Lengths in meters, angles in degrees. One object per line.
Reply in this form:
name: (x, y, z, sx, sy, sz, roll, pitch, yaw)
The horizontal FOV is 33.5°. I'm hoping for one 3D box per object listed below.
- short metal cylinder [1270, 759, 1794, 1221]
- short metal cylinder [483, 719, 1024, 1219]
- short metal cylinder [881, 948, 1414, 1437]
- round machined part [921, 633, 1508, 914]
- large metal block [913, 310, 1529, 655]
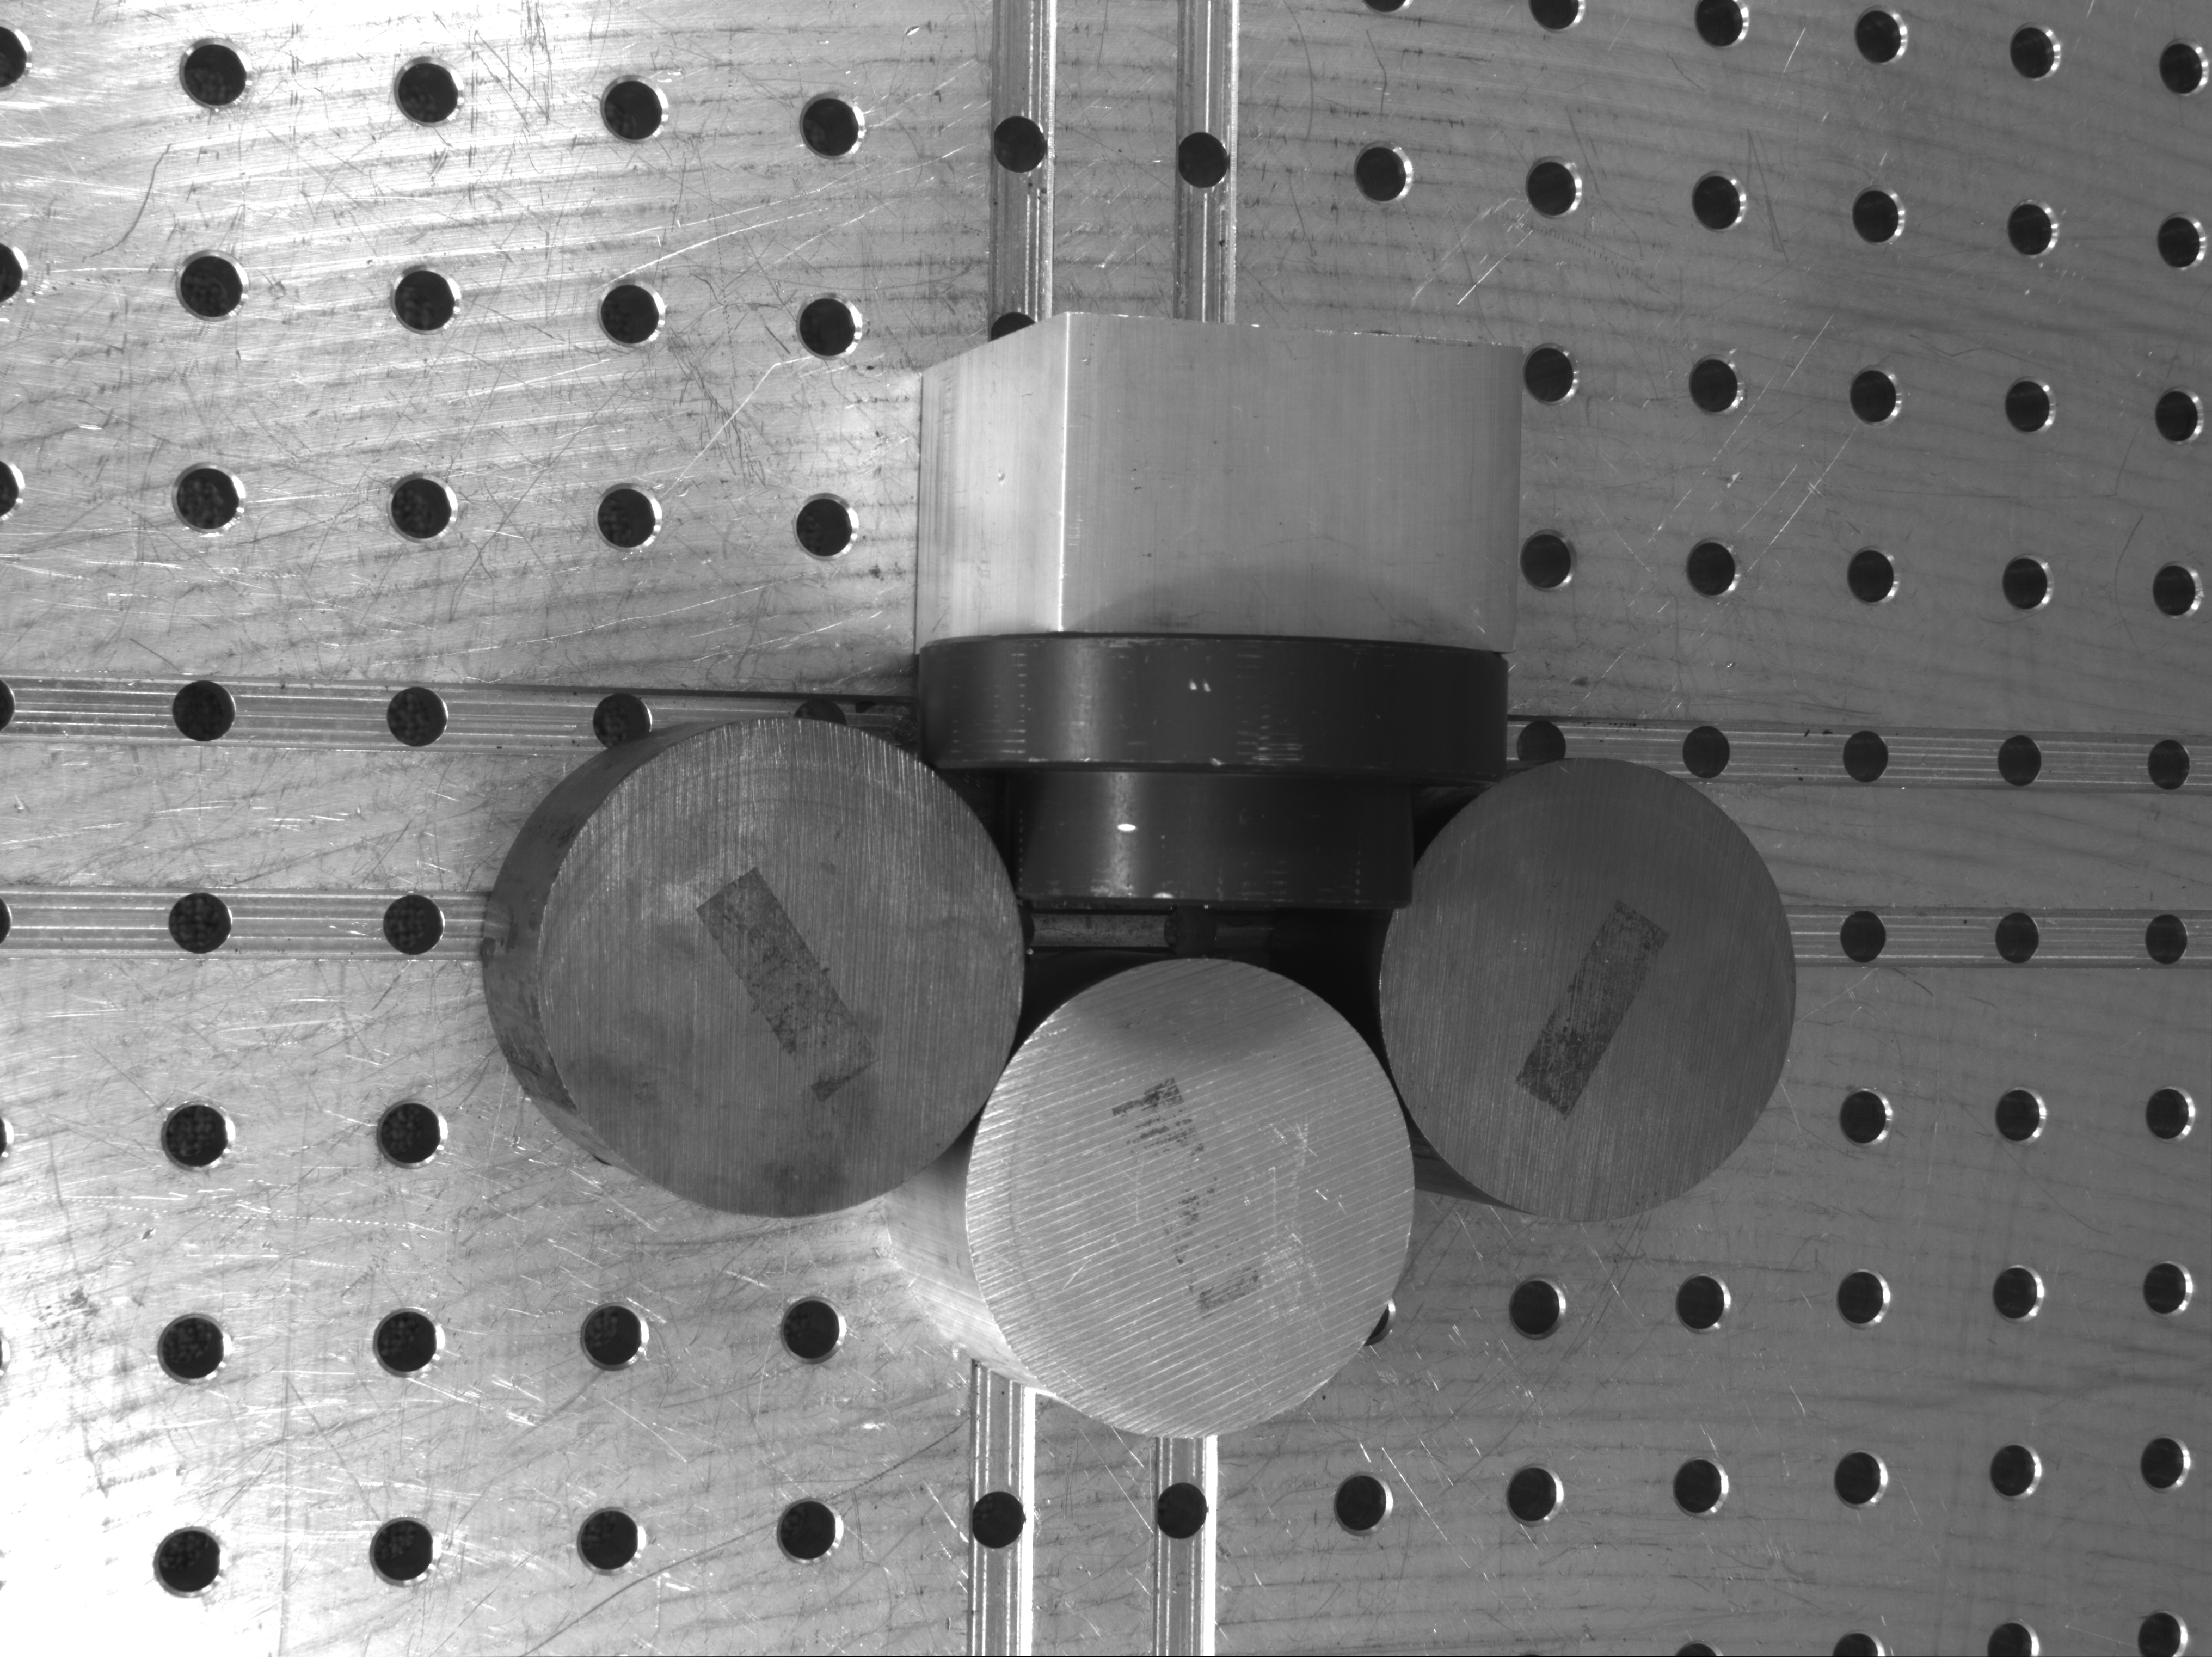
short metal cylinder: (0.076, 0.028, 0.661, 0.080, 0.050, 0.080, 0, 90, -20)
short metal cylinder: (-0.059, 0.023, 0.612, 0.080, 0.050, 0.080, 0, 90, -20)
short metal cylinder: (0.006, 0.061, 0.635, 0.080, 0.050, 0.080, 0, 90, -20)
round machined part: (0.018, -0.008, 0.612, 0.098, 0.098, 0.042, 2, 89, -20)
large metal block: (0.017, -0.055, 0.623, 0.080, 0.080, 0.050, 1, 90, -20)
